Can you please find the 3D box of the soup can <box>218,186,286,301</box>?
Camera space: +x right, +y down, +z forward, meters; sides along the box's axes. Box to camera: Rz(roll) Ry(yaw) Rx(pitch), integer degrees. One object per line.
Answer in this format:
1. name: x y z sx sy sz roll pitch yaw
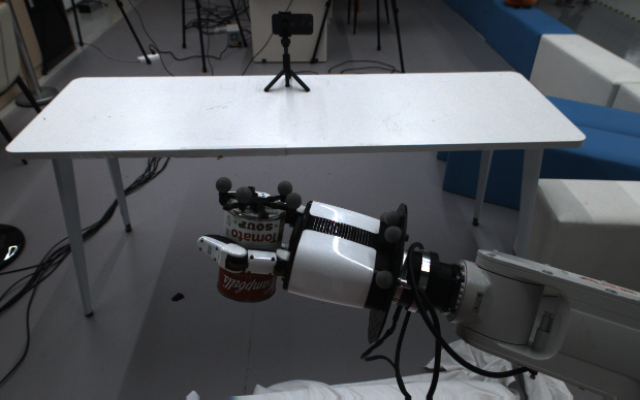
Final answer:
1. soup can: -0.075 0.054 0.541 0.067 0.101 0.067 8 19 -3
